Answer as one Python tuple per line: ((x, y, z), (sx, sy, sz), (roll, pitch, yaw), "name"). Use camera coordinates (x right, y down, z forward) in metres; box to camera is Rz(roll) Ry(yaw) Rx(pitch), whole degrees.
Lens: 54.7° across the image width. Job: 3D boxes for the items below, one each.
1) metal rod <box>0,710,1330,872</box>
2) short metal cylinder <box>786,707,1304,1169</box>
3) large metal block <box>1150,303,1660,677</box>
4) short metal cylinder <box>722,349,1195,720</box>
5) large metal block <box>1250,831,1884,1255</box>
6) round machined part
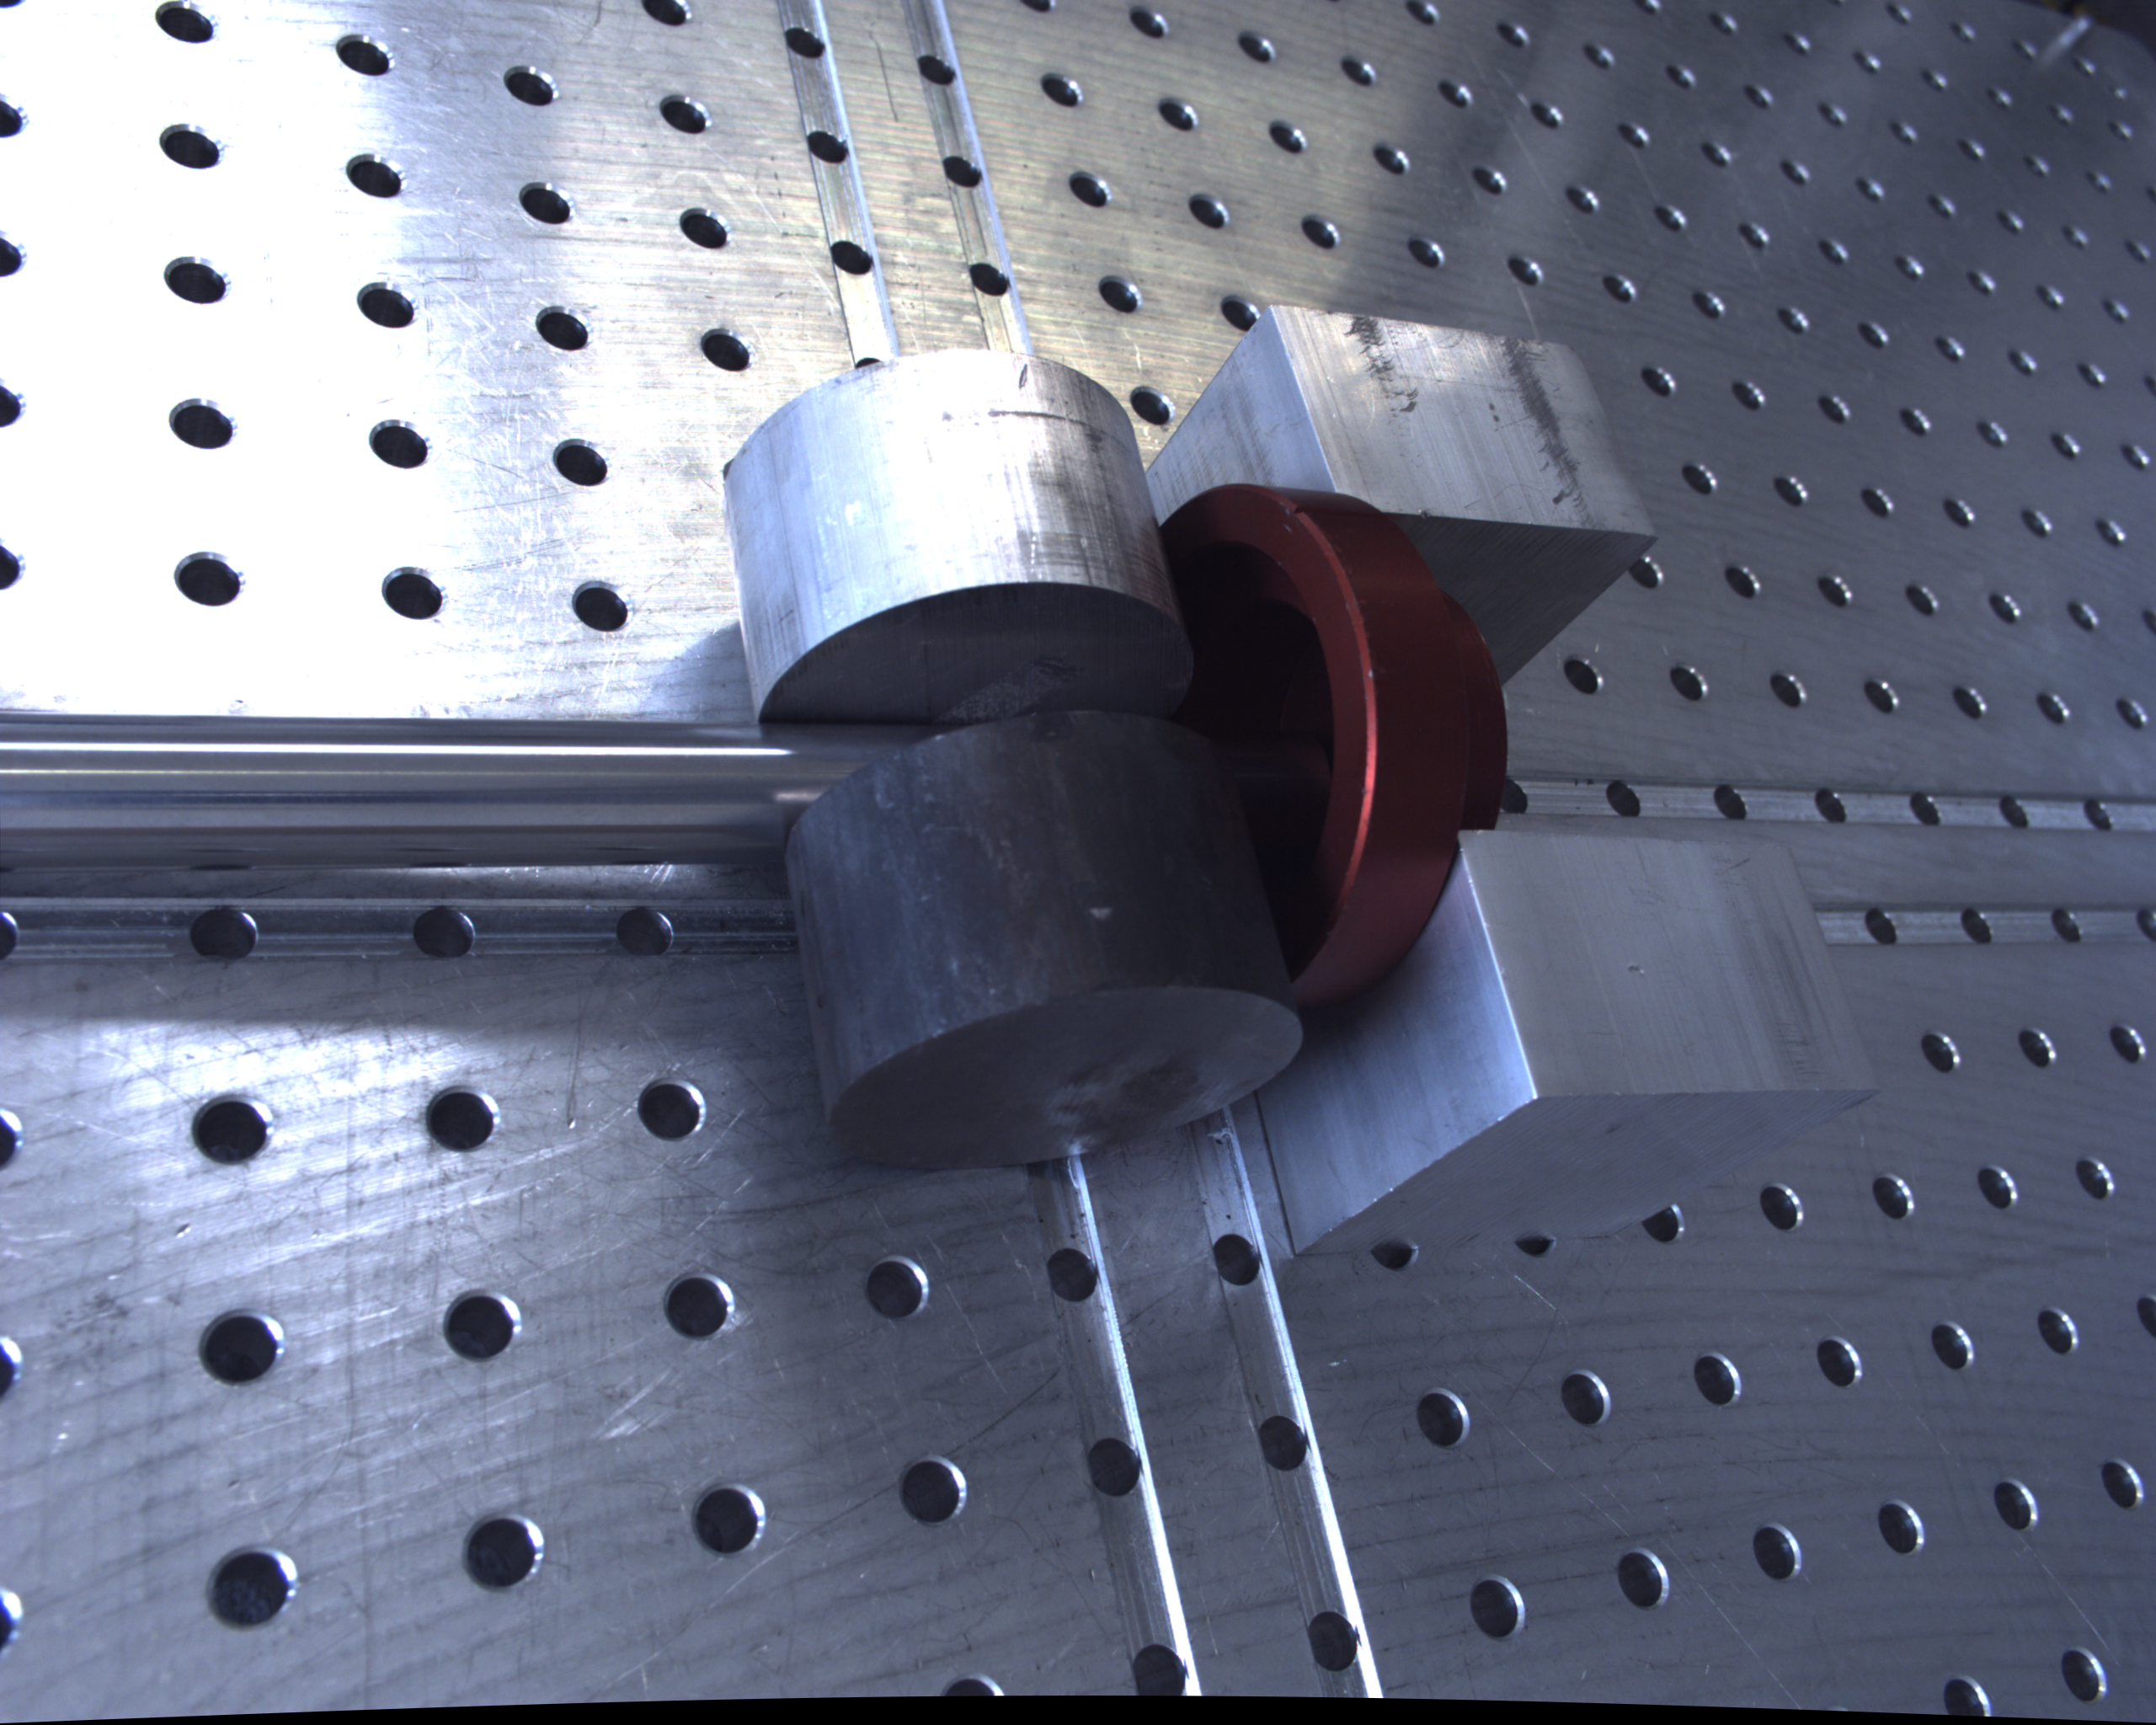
((-0.095, -0.012, 0.349), (0.303, 0.025, 0.025), (-1, 62, -24), "metal rod")
((-0.007, 0.015, 0.359), (0.081, 0.080, 0.050), (1, 62, -28), "short metal cylinder")
((0.061, -0.069, 0.449), (0.081, 0.080, 0.050), (0, 62, -28), "large metal block")
((-0.023, -0.050, 0.391), (0.081, 0.080, 0.050), (1, 62, -28), "short metal cylinder")
((0.088, 0.036, 0.399), (0.081, 0.080, 0.050), (3, 61, -27), "large metal block")
((0.044, -0.021, 0.397), (0.042, 0.097, 0.098), (1, 62, -28), "round machined part")
